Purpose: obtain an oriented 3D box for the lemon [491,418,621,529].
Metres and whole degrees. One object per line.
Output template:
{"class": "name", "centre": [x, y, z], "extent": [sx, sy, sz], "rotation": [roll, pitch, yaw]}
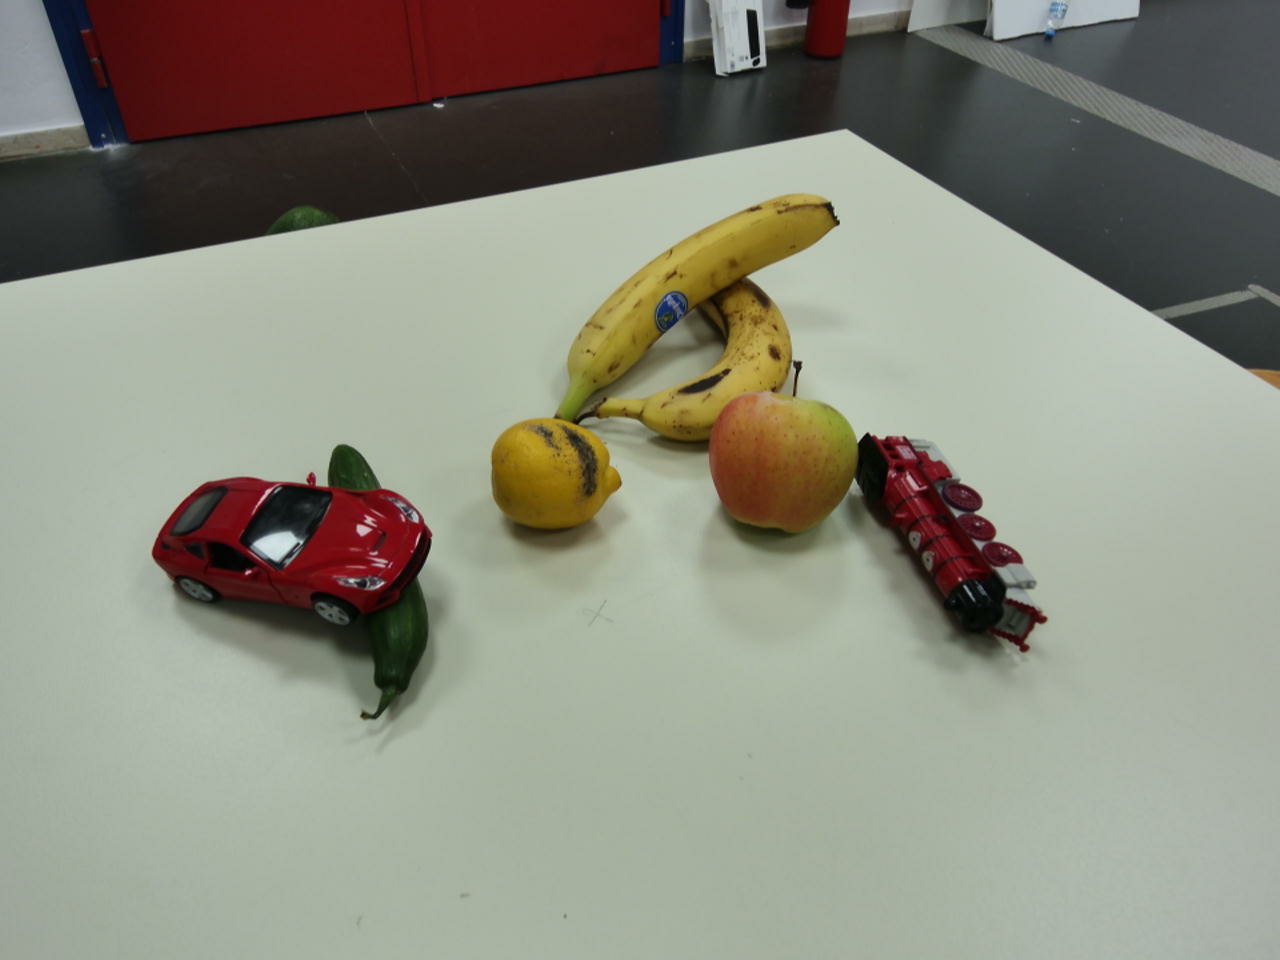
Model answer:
{"class": "lemon", "centre": [-0.046, -0.004, 0.505], "extent": [0.061, 0.056, 0.058], "rotation": [-22, 44, -26]}
